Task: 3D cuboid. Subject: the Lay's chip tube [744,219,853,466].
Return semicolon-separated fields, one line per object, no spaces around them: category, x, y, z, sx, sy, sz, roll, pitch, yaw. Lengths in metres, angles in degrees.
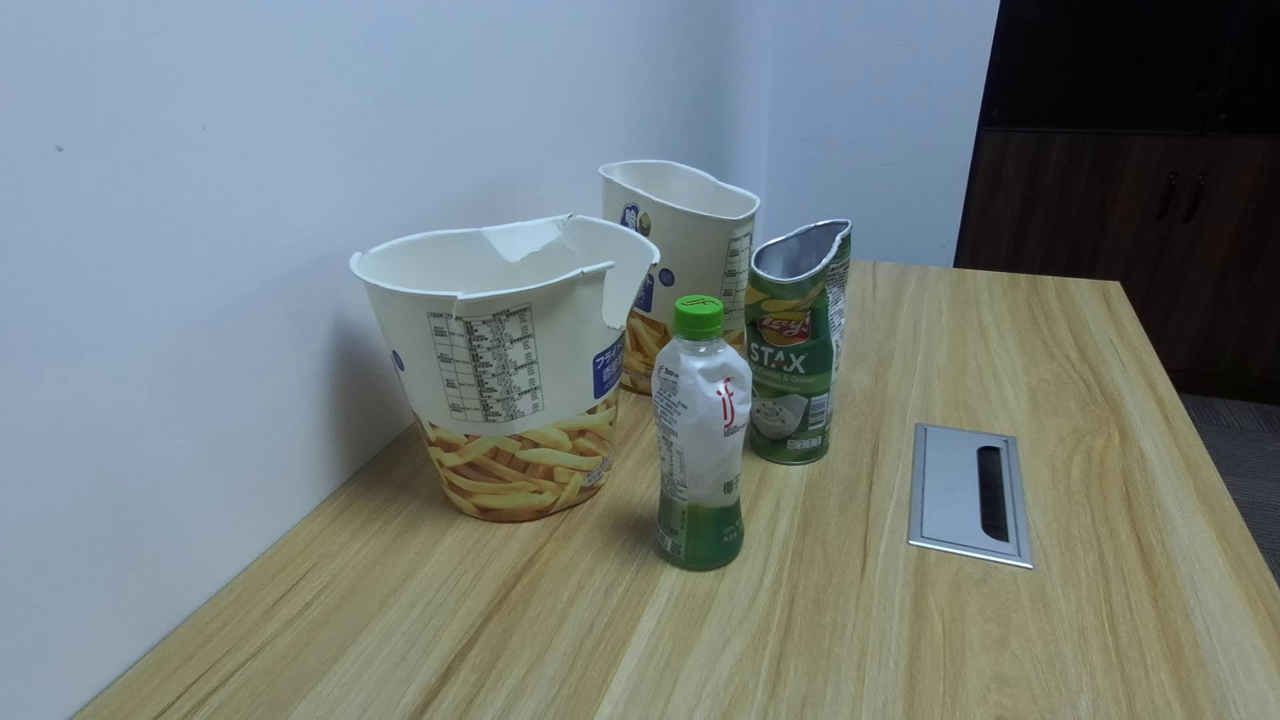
Lay's chip tube;0.124;-0.007;0.564;0.079;0.200;0.071;0;35;9

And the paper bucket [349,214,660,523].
paper bucket;-0.095;0.004;0.559;0.203;0.197;0.145;-15;32;-19

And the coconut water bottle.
coconut water bottle;0.041;0.049;0.474;0.067;0.187;0.067;-2;27;1

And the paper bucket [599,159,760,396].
paper bucket;0.031;-0.084;0.699;0.217;0.199;0.148;17;33;32
